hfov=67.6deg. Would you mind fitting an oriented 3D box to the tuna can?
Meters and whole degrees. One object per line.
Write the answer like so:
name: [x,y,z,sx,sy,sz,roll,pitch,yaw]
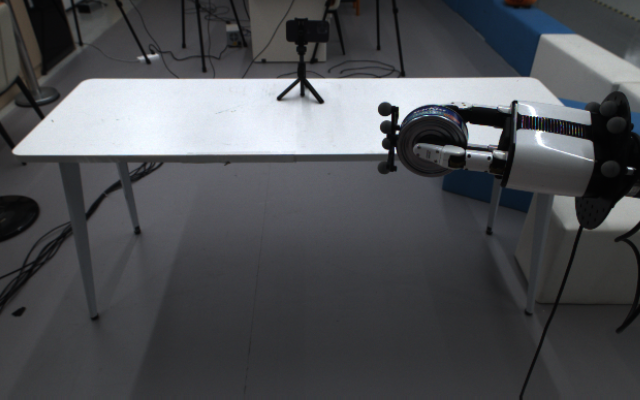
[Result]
tuna can: [0.139,-0.077,0.599,0.085,0.085,0.034,9,31,10]
